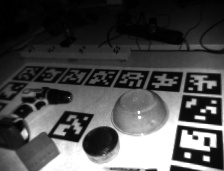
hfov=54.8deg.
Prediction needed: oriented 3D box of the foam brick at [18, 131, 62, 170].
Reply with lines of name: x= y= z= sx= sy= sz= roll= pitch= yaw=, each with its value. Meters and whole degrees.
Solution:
foam brick: x=-0.174 y=0.160 z=0.526 sx=0.050 sy=0.053 sz=0.078 roll=23 pitch=52 yaw=37

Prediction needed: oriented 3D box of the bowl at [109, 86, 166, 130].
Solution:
bowl: x=0.065 y=0.047 z=0.598 sx=0.161 sy=0.055 sz=0.161 roll=-10 pitch=30 yaw=7

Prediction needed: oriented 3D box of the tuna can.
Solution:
tuna can: x=-0.021 y=0.128 z=0.523 sx=0.085 sy=0.034 sz=0.085 roll=-6 pitch=39 yaw=6

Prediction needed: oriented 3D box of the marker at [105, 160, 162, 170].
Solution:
marker: x=0.045 y=0.169 z=0.461 sx=0.120 sy=0.020 sz=0.019 roll=-4 pitch=40 yaw=12

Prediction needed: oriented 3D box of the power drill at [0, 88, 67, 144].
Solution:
power drill: x=-0.248 y=0.080 z=0.642 sx=0.183 sy=0.058 sz=0.187 roll=5 pitch=39 yaw=17
